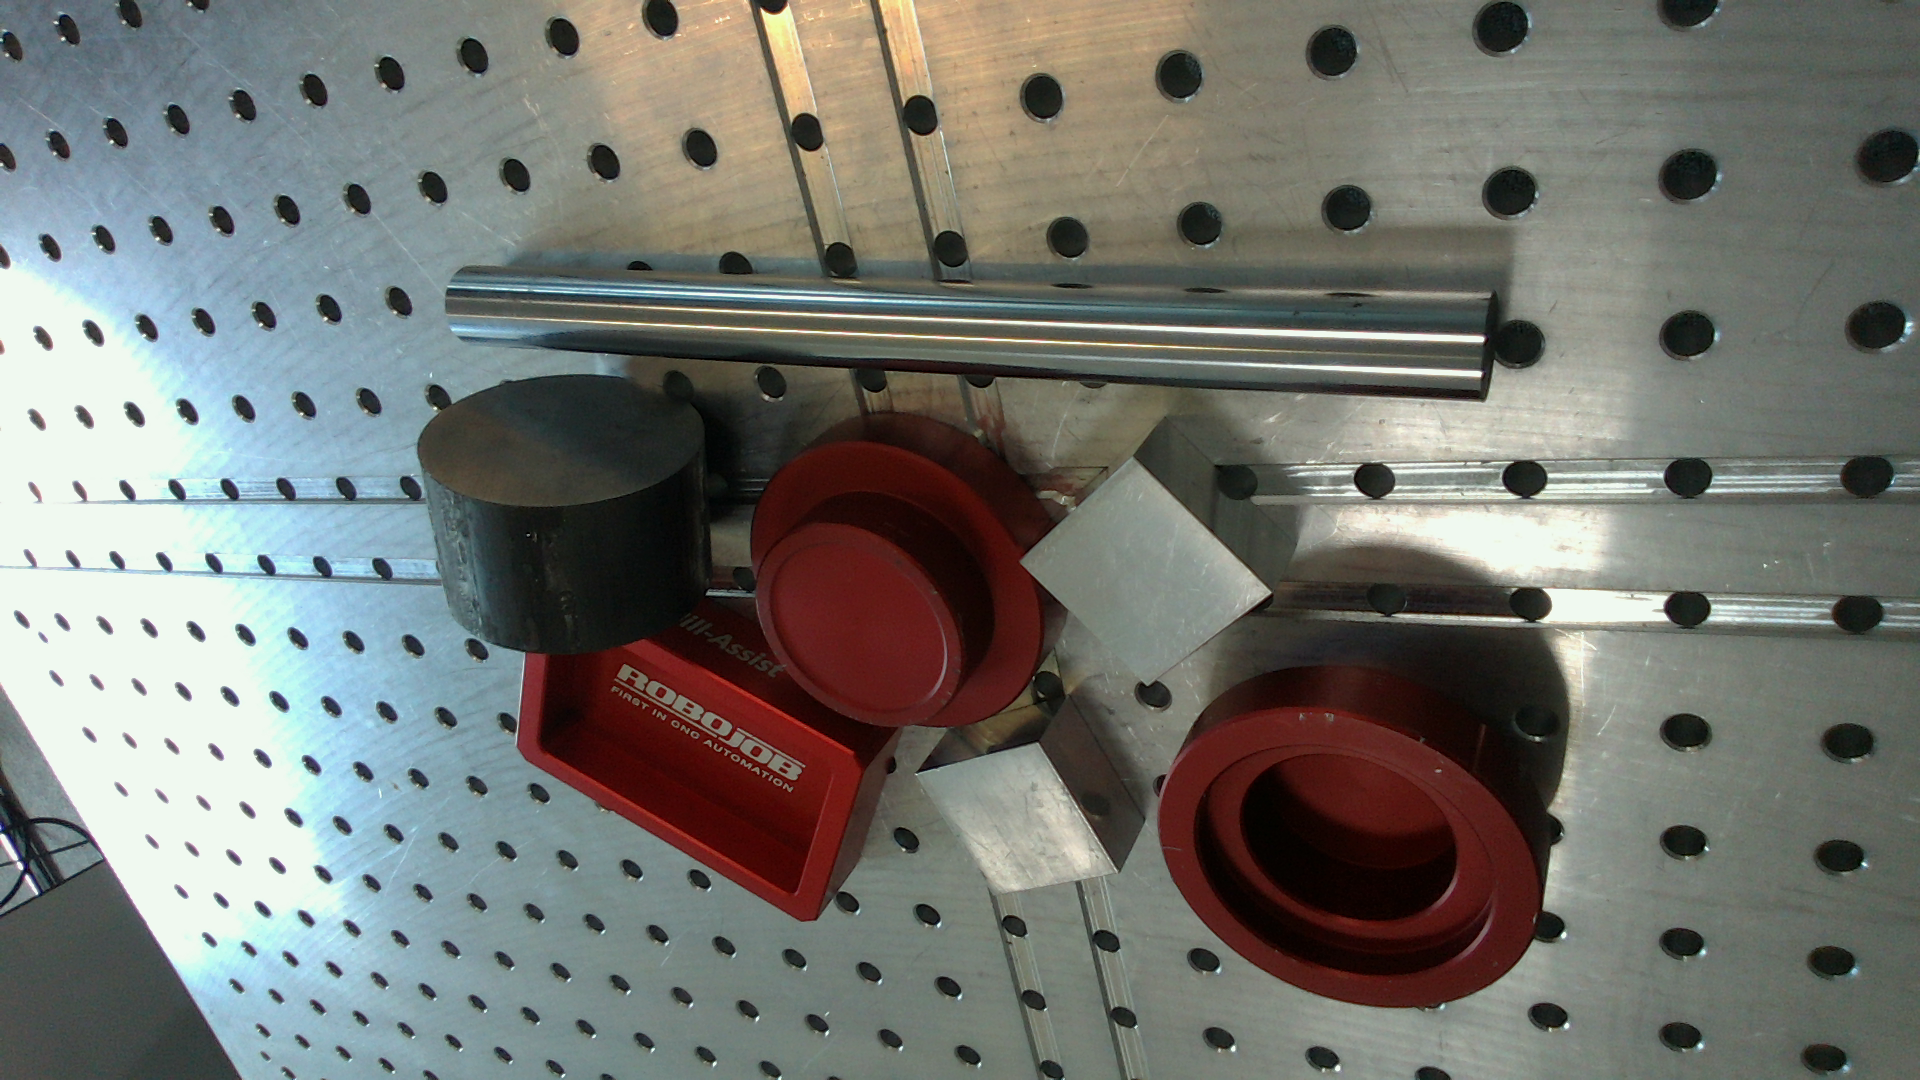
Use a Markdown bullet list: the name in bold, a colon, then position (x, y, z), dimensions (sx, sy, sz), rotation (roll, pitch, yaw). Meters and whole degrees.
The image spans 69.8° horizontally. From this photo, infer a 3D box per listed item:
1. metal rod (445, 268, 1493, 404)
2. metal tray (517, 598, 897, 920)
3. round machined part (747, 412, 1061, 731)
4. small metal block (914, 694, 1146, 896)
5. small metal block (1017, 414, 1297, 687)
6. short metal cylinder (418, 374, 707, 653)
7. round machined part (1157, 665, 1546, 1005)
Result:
- **metal rod**: position (-0.017, -0.058, 0.369), dimensions (0.299, 0.025, 0.025), rotation (6, 121, 25)
- **metal tray**: position (-0.092, 0.067, 0.483), dimensions (0.130, 0.030, 0.090), rotation (27, 128, 11)
- **round machined part**: position (-0.022, 0.015, 0.405), dimensions (0.098, 0.042, 0.098), rotation (13, 121, 22)
- **small metal block**: position (0.022, 0.081, 0.434), dimensions (0.050, 0.025, 0.050), rotation (-21, 107, 36)
- **small metal block**: position (0.053, 0.004, 0.370), dimensions (0.050, 0.025, 0.050), rotation (44, 129, -2)
- **short metal cylinder**: position (-0.118, -0.010, 0.417), dimensions (0.080, 0.080, 0.050), rotation (16, 125, 19)
- **round machined part**: position (0.107, 0.075, 0.374), dimensions (0.098, 0.042, 0.098), rotation (13, 124, 21)
